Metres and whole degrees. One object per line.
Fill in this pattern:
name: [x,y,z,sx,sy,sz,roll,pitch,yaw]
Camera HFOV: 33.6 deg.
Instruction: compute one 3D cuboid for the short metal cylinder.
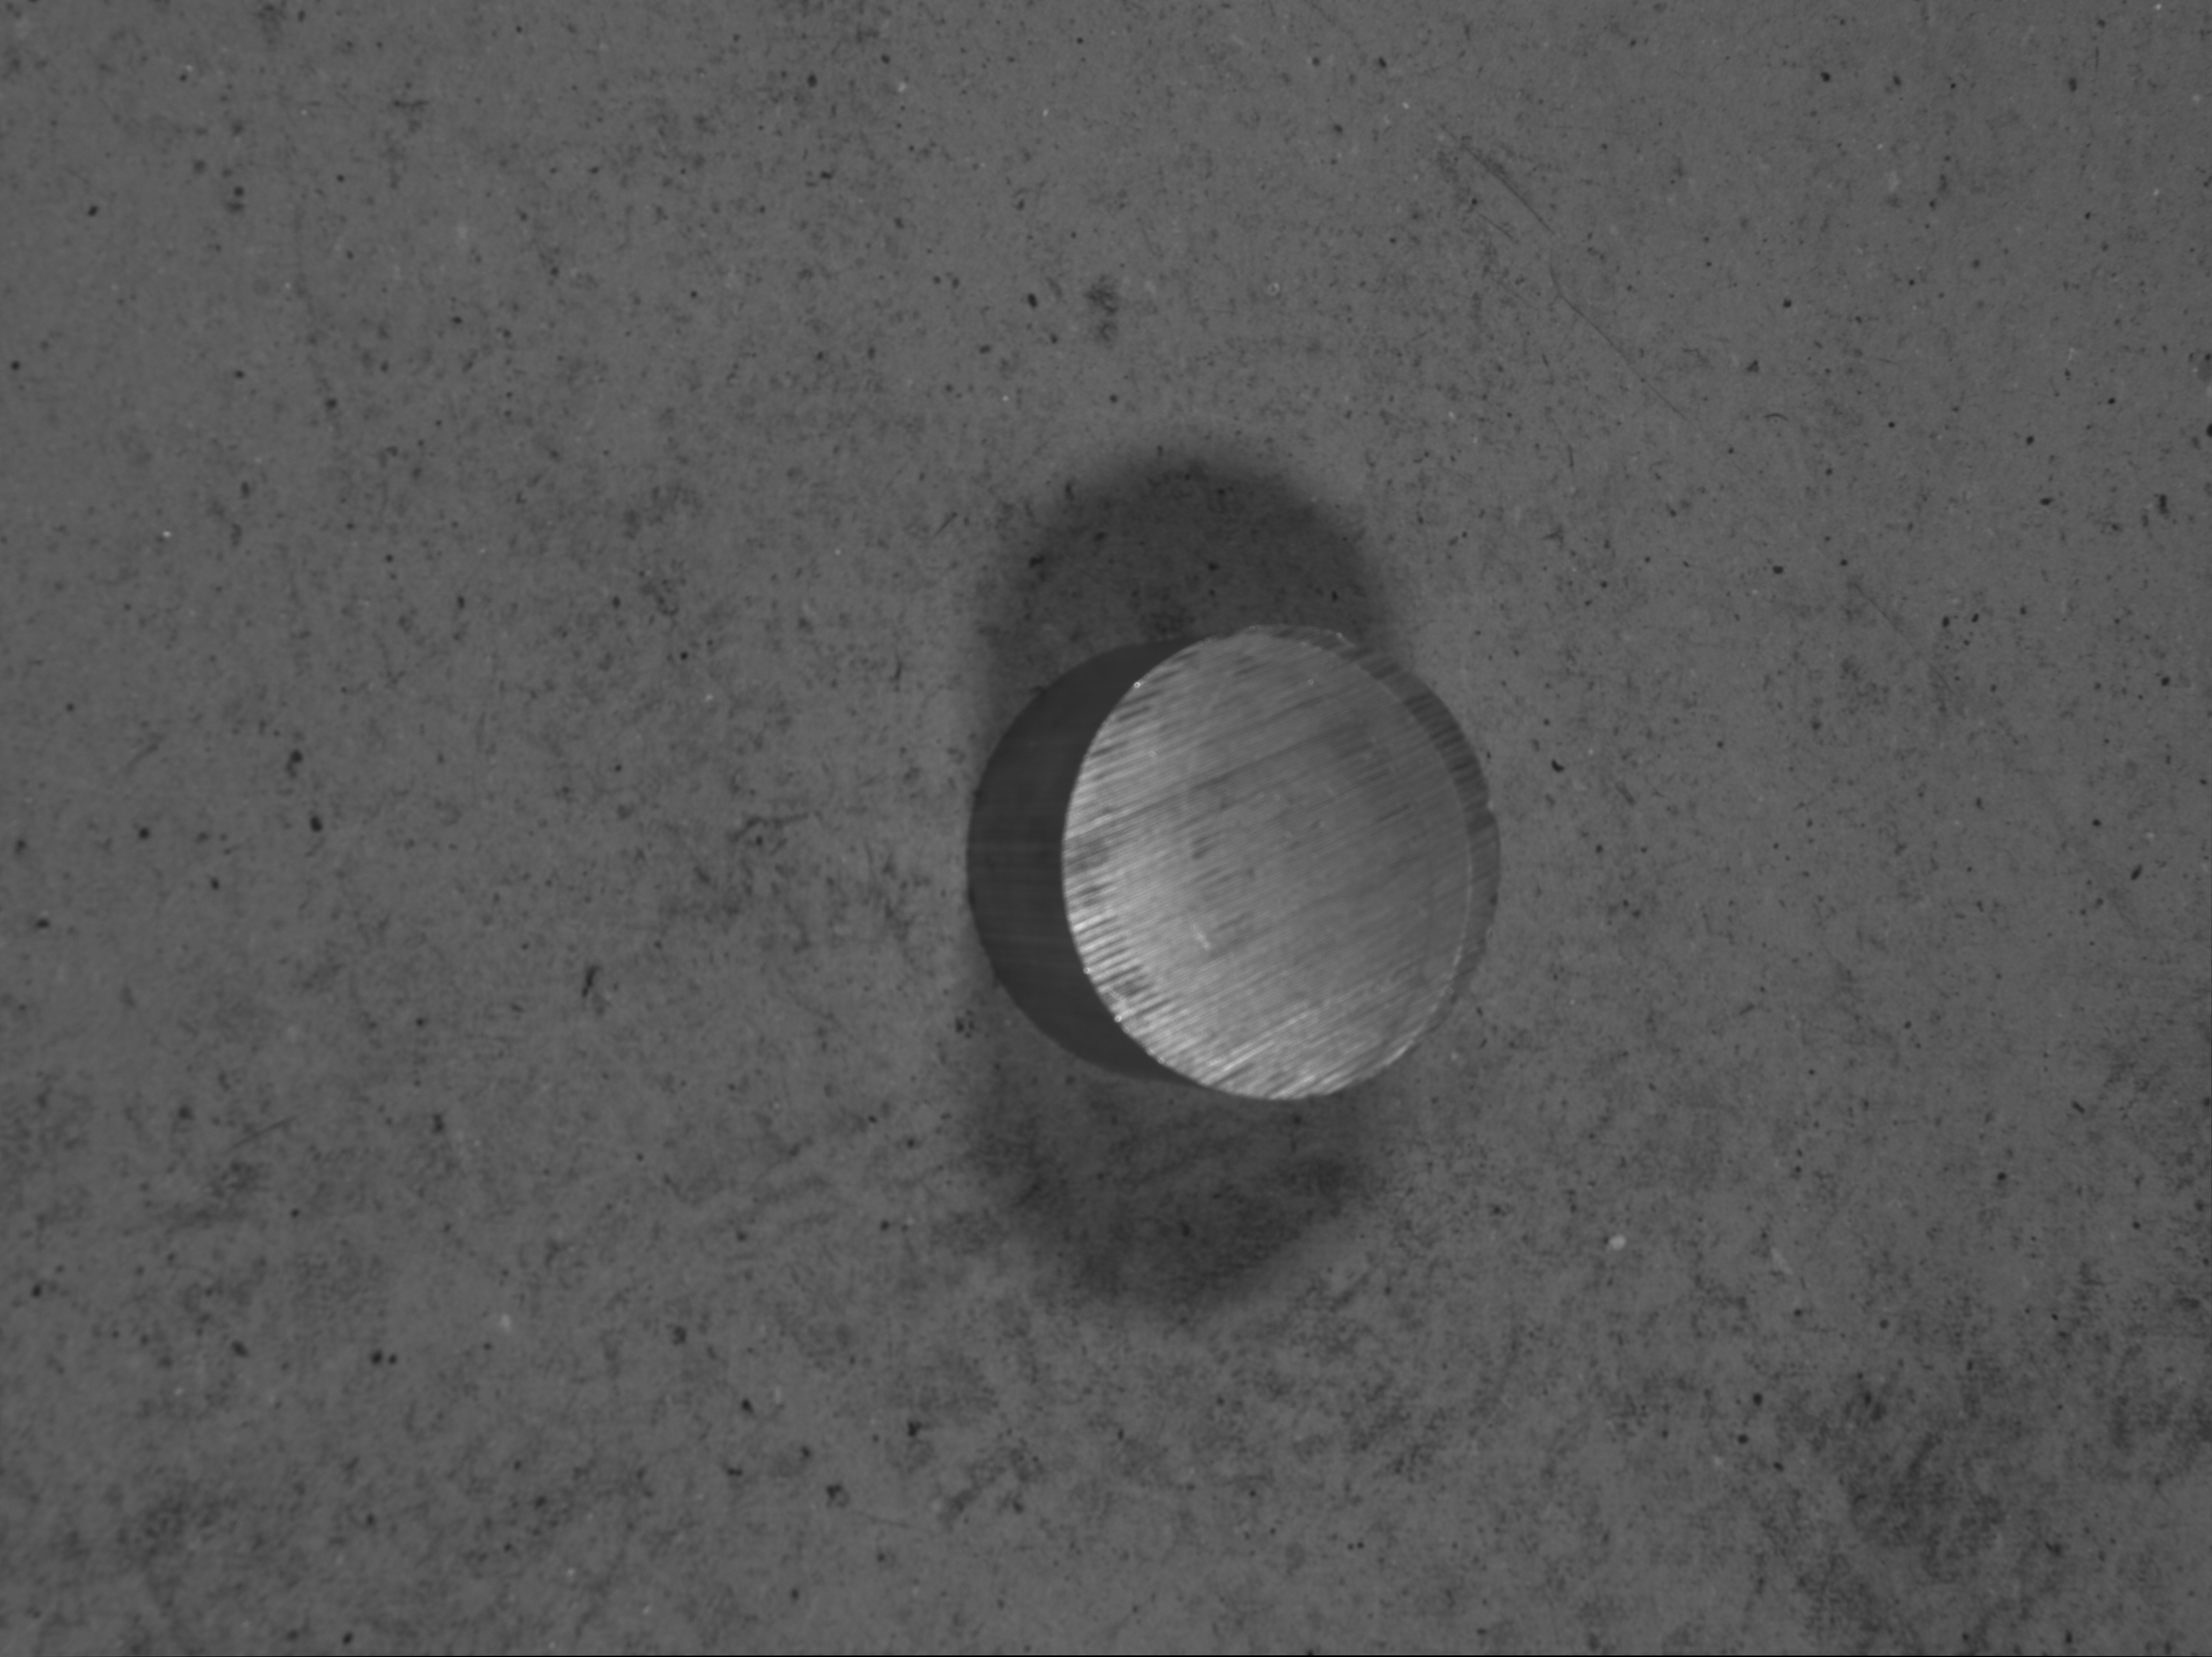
short metal cylinder: [0.026,0.006,0.640,0.080,0.050,0.080,0,90,-20]
